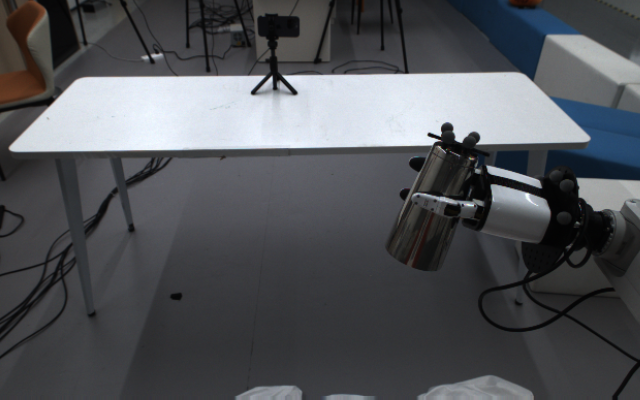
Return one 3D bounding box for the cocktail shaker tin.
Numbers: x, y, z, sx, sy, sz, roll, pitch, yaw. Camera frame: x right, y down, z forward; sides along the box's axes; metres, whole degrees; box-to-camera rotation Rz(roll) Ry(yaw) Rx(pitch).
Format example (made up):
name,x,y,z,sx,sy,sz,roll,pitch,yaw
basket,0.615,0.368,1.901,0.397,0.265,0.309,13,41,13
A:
name,x,y,z,sx,sy,sz,roll,pitch,yaw
cocktail shaker tin,0.166,0.005,0.702,0.093,0.170,0.093,15,21,-6
